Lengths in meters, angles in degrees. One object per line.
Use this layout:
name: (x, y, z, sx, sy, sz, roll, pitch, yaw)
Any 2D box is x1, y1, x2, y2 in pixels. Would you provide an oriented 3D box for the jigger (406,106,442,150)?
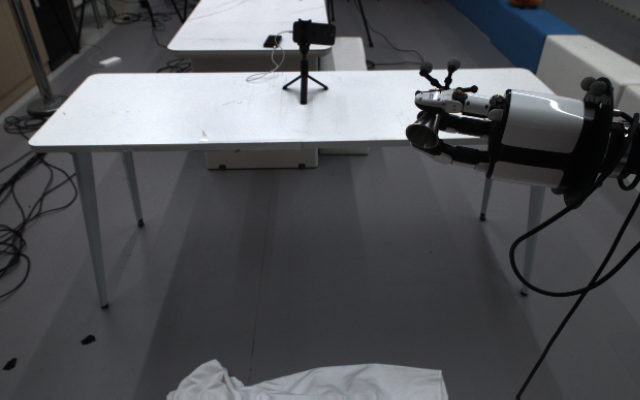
jigger: (0.142, -0.110, 0.621, 0.043, 0.043, 0.071, 19, 61, 23)
